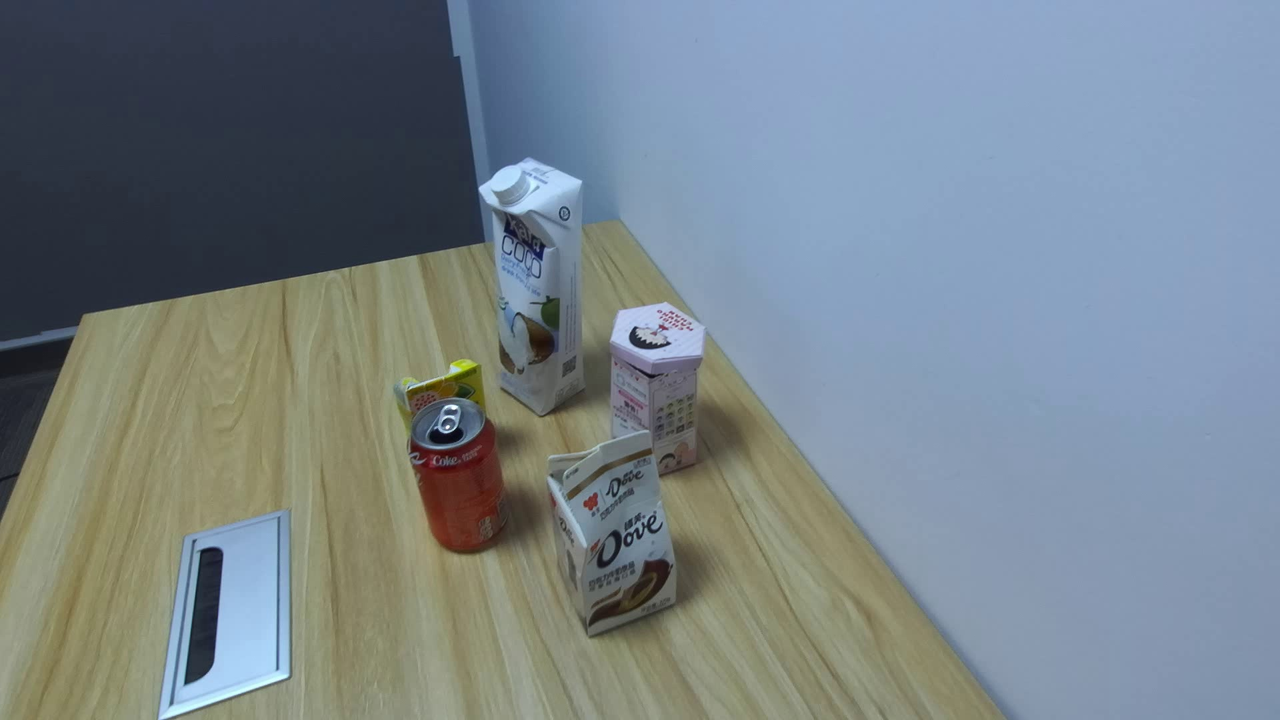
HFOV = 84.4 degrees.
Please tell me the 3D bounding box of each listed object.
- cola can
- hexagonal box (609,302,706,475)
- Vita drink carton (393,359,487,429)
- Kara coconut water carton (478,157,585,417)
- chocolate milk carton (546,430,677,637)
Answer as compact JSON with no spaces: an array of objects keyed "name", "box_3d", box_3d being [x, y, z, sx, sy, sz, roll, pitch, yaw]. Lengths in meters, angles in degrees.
[{"name":"cola can","box_3d":[-0.144,0.091,0.564,0.068,0.120,0.067,-1,38,1]},{"name":"hexagonal box","box_3d":[0.013,0.028,0.623,0.091,0.135,0.085,26,45,30]},{"name":"Vita drink carton","box_3d":[-0.175,0.045,0.630,0.071,0.110,0.046,-23,44,-27]},{"name":"Kara coconut water carton","box_3d":[-0.094,-0.065,0.653,0.099,0.244,0.071,28,45,32]},{"name":"chocolate milk carton","box_3d":[-0.017,0.113,0.502,0.084,0.155,0.072,-14,42,-17]}]
